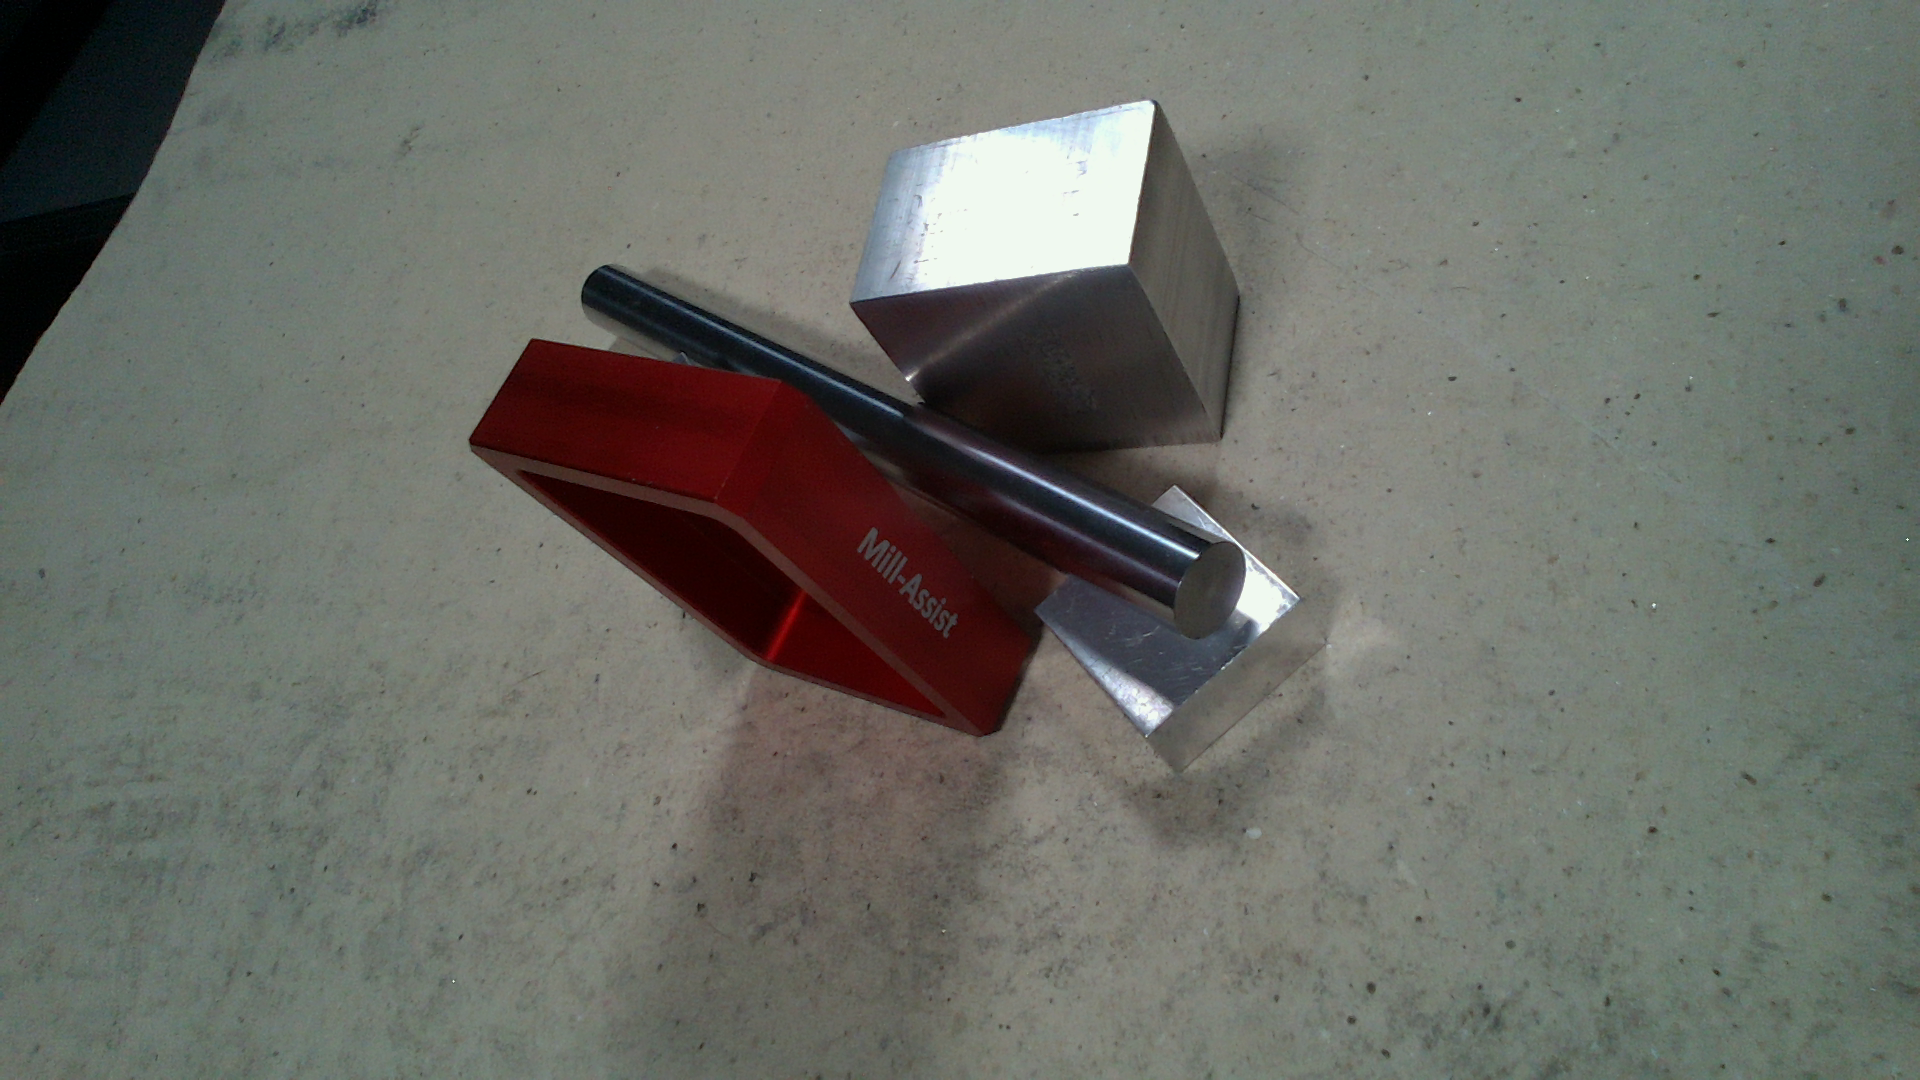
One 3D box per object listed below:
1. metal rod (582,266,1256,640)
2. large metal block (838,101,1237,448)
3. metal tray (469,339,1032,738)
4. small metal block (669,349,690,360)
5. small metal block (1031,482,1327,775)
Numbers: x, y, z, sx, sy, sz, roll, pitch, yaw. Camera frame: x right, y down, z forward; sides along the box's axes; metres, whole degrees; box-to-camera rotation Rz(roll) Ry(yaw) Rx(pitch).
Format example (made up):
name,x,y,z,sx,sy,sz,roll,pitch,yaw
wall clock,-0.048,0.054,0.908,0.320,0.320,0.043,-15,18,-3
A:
name,x,y,z,sx,sy,sz,roll,pitch,yaw
metal rod,-0.036,-0.040,0.421,0.299,0.025,0.025,28,77,43
large metal block,0.025,-0.069,0.386,0.080,0.080,0.050,-2,61,28
metal tray,-0.048,0.003,0.350,0.090,0.130,0.030,13,68,34
small metal block,-0.075,-0.024,0.433,0.025,0.050,0.050,-39,51,2
small metal block,0.055,0.022,0.351,0.050,0.025,0.050,-41,51,0
